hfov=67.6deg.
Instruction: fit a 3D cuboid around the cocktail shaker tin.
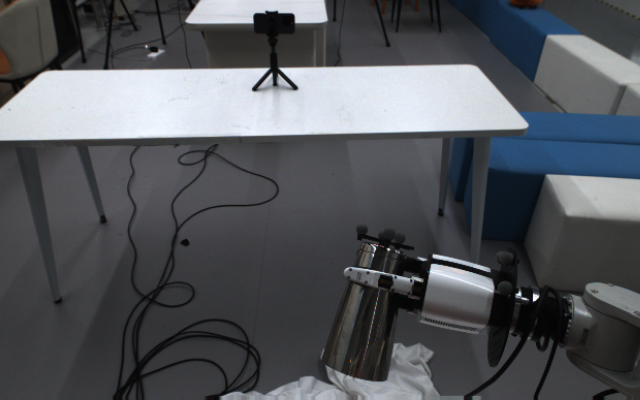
[{"bbox_3d":[0.069,0.146,0.671,0.093,0.170,0.093,15,-5,1],"label":"cocktail shaker tin"}]
